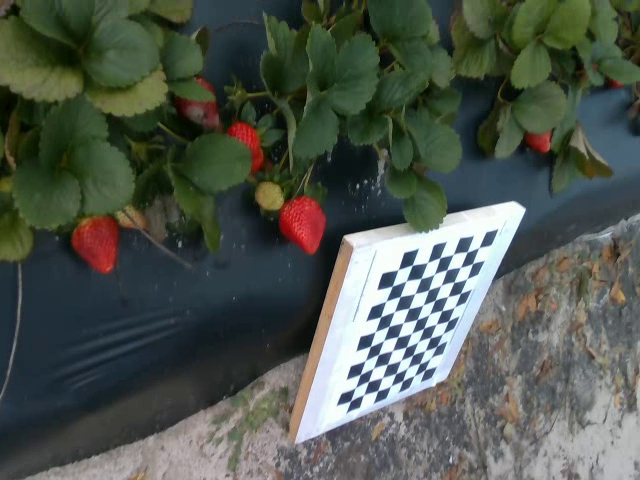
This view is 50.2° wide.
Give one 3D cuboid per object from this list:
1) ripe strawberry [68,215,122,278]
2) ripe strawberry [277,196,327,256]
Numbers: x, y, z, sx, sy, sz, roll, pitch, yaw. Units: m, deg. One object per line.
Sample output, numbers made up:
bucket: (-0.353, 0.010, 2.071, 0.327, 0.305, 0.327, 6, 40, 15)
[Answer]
ripe strawberry: (-0.170, 0.003, 0.519, 0.043, 0.052, 0.041, -23, 2, -21)
ripe strawberry: (-0.012, -0.009, 0.640, 0.057, 0.065, 0.056, -27, -37, 3)
